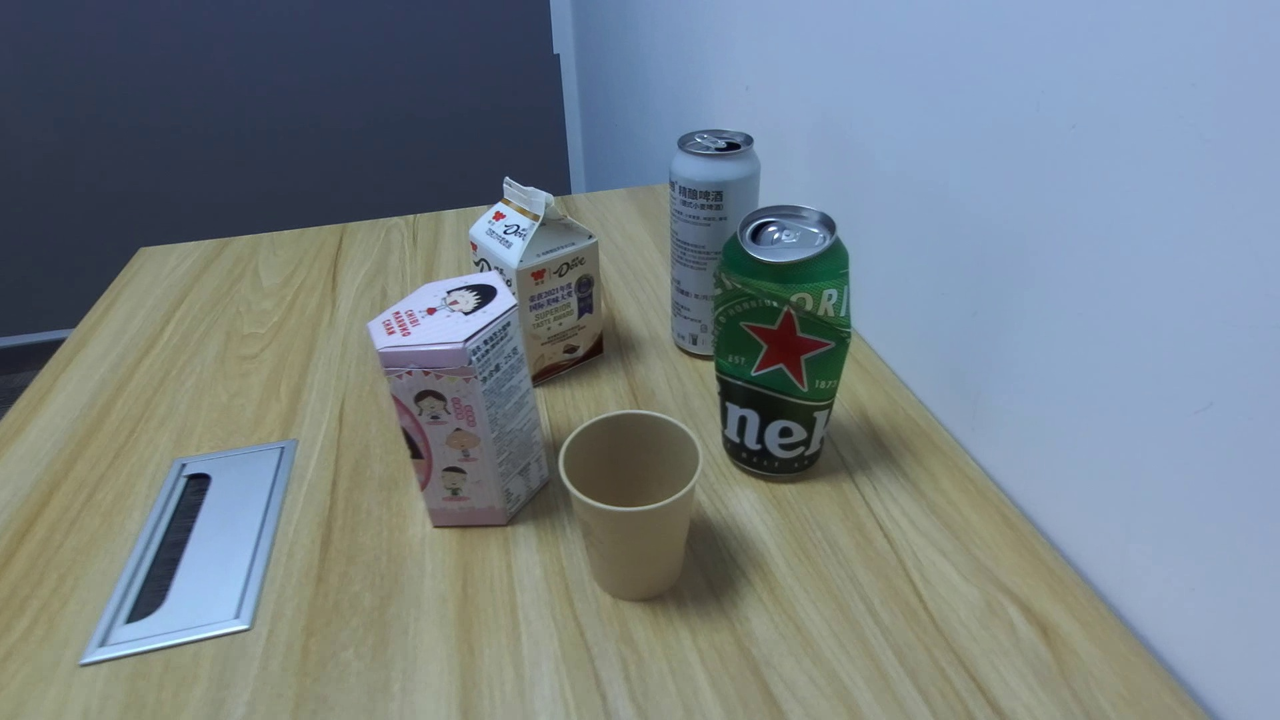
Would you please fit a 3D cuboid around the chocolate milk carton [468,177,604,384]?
[{"bbox_3d":[-0.078,-0.067,0.545,0.074,0.148,0.075,-25,42,-29],"label":"chocolate milk carton"}]

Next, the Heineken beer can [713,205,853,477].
[{"bbox_3d":[0.085,-0.005,0.431,0.069,0.168,0.068,-12,37,-10],"label":"Heineken beer can"}]

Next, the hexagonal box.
[{"bbox_3d":[-0.104,0.025,0.429,0.085,0.135,0.091,-18,38,-20],"label":"hexagonal box"}]

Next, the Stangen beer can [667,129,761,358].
[{"bbox_3d":[0.058,-0.085,0.544,0.067,0.171,0.067,-1,34,1],"label":"Stangen beer can"}]

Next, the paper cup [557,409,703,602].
[{"bbox_3d":[-0.003,0.083,0.386,0.075,0.082,0.075,-1,35,1],"label":"paper cup"}]
